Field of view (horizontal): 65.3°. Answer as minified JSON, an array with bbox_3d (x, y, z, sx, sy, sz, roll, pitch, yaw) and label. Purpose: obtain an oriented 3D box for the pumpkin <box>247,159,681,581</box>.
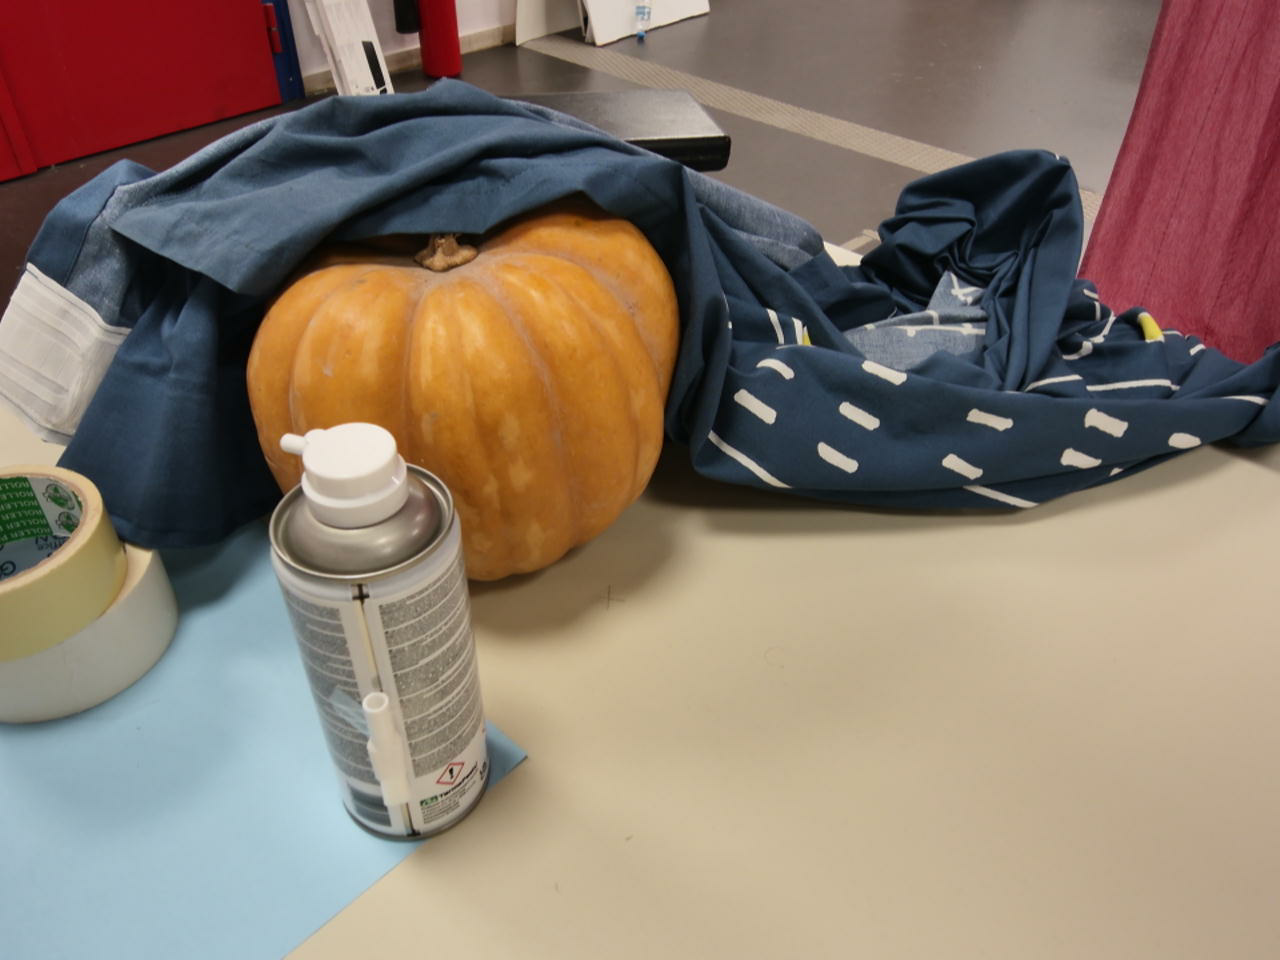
[{"bbox_3d":[-0.088,-0.057,0.532,0.230,0.194,0.230,1,38,-1],"label":"pumpkin"}]
